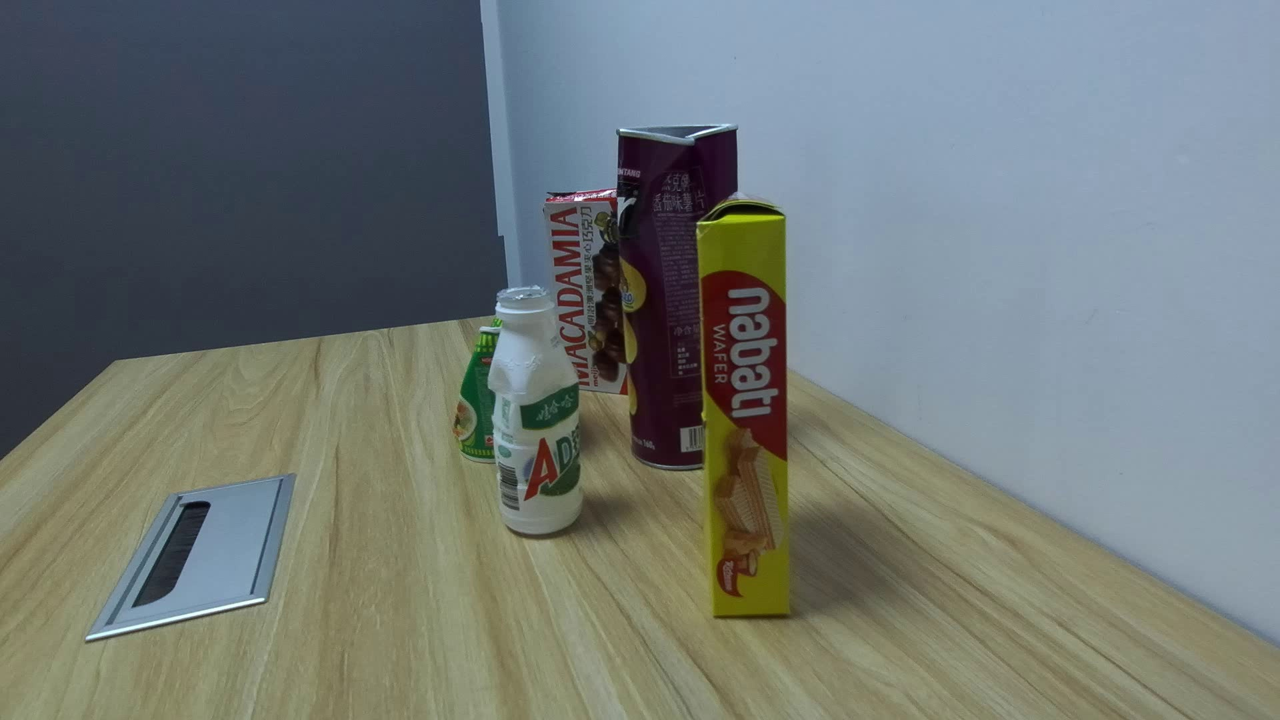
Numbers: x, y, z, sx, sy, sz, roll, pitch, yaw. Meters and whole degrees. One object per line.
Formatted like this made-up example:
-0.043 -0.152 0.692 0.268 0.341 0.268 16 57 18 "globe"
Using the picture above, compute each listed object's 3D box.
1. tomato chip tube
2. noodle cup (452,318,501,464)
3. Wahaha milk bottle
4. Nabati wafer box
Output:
0.030 -0.046 0.515 0.077 0.235 0.076 4 23 11 "tomato chip tube"
-0.117 0.041 0.598 0.083 0.075 0.121 -12 2 -15 "noodle cup"
-0.065 0.031 0.432 0.055 0.149 0.055 -2 17 1 "Wahaha milk bottle"
0.055 0.021 0.373 0.042 0.204 0.107 -1 14 6 "Nabati wafer box"
